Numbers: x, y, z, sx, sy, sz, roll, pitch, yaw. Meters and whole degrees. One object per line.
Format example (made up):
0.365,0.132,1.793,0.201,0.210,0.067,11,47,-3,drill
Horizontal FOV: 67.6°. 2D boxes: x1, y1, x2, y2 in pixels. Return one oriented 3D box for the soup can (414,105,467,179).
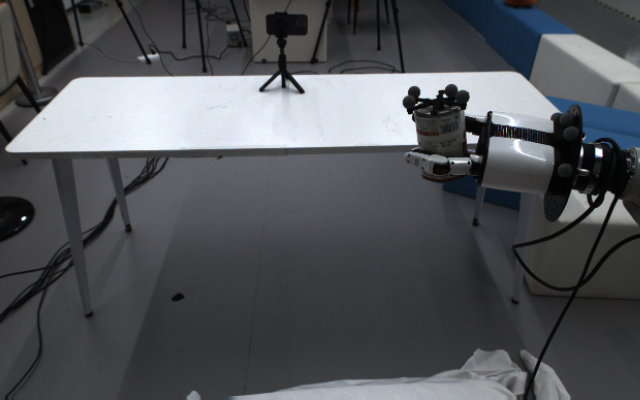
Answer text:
0.172,-0.085,0.676,0.067,0.101,0.067,-11,27,6,soup can
